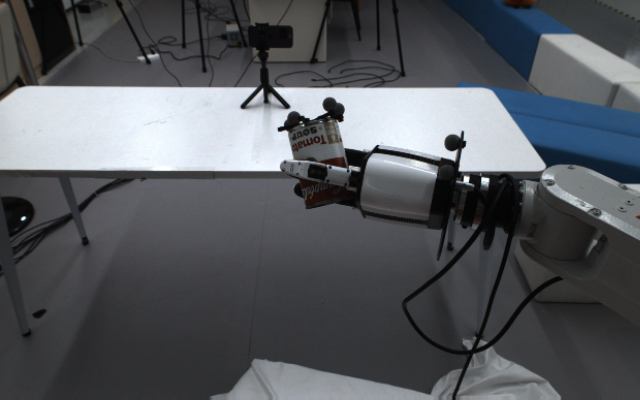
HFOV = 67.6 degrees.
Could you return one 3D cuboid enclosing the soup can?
[{"bbox_3d":[0.003,-0.045,0.621,0.067,0.101,0.067,-14,-2,-1],"label":"soup can"}]
